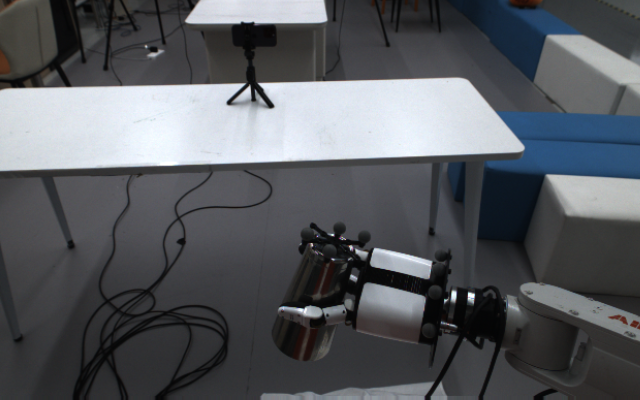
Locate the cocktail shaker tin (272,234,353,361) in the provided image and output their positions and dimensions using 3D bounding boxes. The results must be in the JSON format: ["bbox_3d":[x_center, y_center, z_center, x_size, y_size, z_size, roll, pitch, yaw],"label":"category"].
[{"bbox_3d":[-0.004,0.131,0.679,0.093,0.170,0.093,12,29,-7],"label":"cocktail shaker tin"}]
